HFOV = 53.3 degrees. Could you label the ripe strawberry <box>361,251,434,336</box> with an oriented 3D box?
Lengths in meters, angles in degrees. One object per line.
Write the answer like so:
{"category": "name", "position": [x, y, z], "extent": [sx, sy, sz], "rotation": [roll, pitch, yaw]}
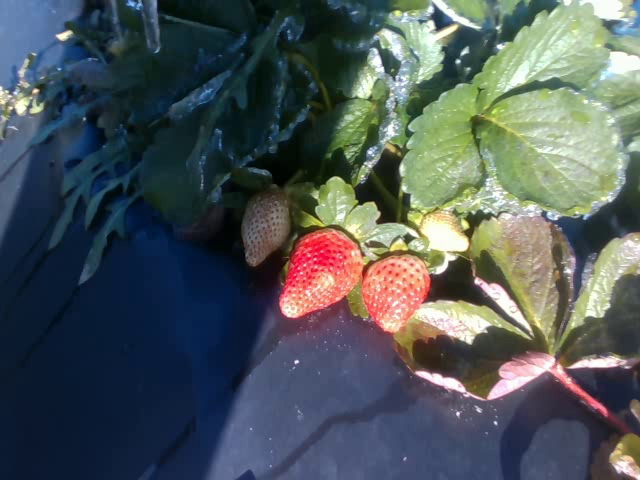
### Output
{"category": "ripe strawberry", "position": [0.037, 0.026, 0.297], "extent": [0.036, 0.041, 0.030], "rotation": [-12, -25, 19]}

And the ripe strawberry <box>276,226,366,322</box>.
{"category": "ripe strawberry", "position": [-0.003, 0.020, 0.295], "extent": [0.036, 0.040, 0.052], "rotation": [14, 42, 25]}
